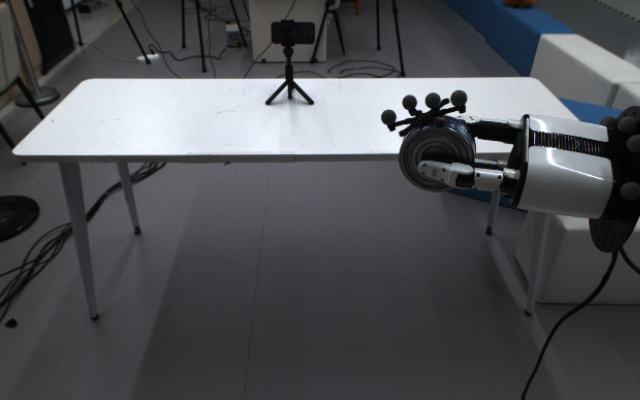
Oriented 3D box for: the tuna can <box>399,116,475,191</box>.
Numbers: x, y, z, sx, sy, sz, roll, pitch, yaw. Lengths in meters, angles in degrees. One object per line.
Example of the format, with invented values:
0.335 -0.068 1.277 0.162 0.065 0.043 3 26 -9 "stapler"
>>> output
0.140 -0.047 0.559 0.085 0.085 0.034 11 34 13 "tuna can"
